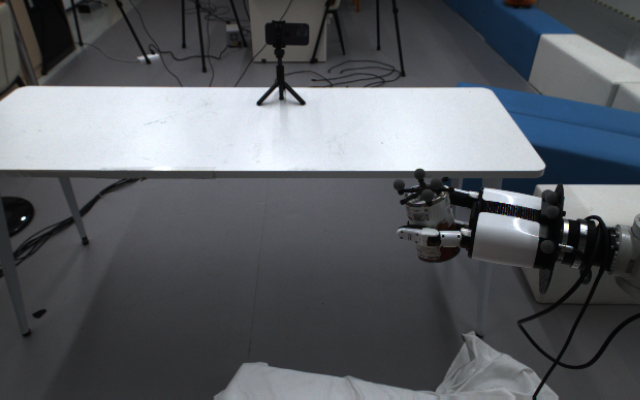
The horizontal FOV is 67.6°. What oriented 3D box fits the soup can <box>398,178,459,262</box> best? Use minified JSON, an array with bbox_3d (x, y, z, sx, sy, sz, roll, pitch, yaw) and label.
[{"bbox_3d":[0.171,0.033,0.735,0.067,0.101,0.067,-16,23,7],"label":"soup can"}]
